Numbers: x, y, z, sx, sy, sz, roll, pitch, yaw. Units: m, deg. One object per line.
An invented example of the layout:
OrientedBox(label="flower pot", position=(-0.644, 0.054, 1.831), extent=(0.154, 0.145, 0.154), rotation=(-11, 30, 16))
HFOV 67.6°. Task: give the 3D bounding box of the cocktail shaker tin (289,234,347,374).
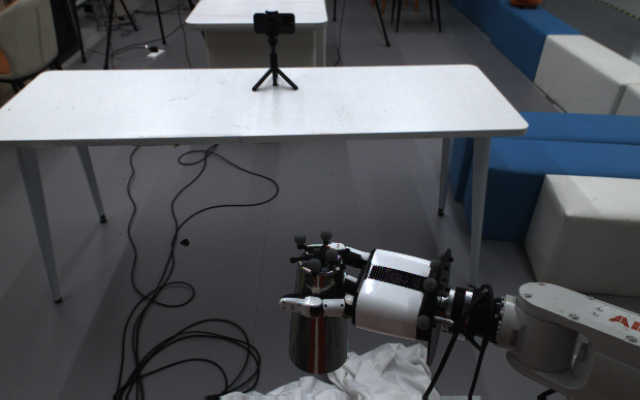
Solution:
OrientedBox(label="cocktail shaker tin", position=(0.001, 0.158, 0.719), extent=(0.093, 0.170, 0.093), rotation=(1, 26, -1))
